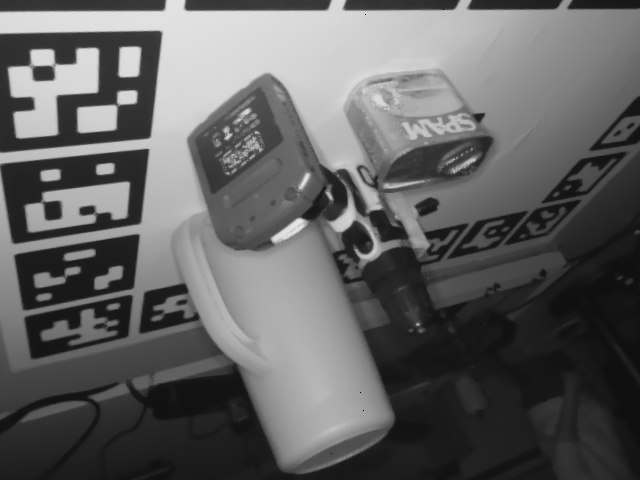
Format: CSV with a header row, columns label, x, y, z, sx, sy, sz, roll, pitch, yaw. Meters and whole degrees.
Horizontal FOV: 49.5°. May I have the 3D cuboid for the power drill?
label,x,y,z,sx,sy,sz,roll,pitch,yaw
power drill,0.032,-0.013,0.589,0.057,0.184,0.189,-41,141,21

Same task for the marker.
label,x,y,z,sx,sy,sz,roll,pitch,yaw
marker,0.101,-0.007,0.809,0.121,0.019,0.019,-25,150,-4

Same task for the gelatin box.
label,x,y,z,sx,sy,sz,roll,pitch,yaw
gelatin box,0.074,-0.012,0.732,0.091,0.073,0.030,-1,139,-33

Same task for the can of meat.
label,x,y,z,sx,sy,sz,roll,pitch,yaw
can of meat,0.092,-0.098,0.594,0.103,0.084,0.057,-10,149,-24

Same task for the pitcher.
label,x,y,z,sx,sy,sz,roll,pitch,yaw
pitcher,-0.028,0.074,0.633,0.132,0.242,0.191,-43,153,22
